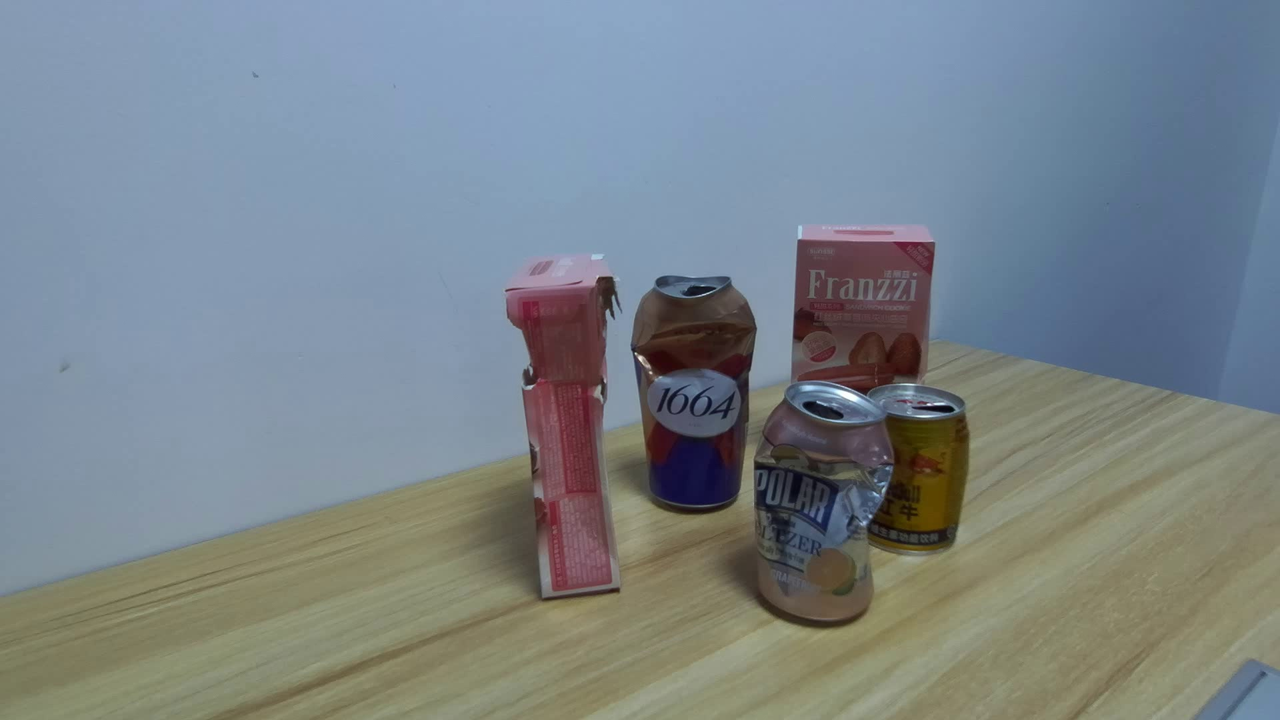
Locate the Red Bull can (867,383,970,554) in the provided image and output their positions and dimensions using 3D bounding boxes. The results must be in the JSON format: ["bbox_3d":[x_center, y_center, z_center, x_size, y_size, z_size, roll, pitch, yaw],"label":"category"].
[{"bbox_3d":[0.174,0.069,0.455,0.069,0.092,0.069,-1,17,1],"label":"Red Bull can"}]

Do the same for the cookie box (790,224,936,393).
[{"bbox_3d":[0.172,-0.008,0.549,0.105,0.187,0.049,3,24,10],"label":"cookie box"}]

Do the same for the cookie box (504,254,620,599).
[{"bbox_3d":[-0.037,0.037,0.423,0.059,0.186,0.105,-4,18,-2],"label":"cookie box"}]

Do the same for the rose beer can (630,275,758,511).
[{"bbox_3d":[0.039,0.023,0.500,0.074,0.162,0.068,-10,20,-22],"label":"rose beer can"}]

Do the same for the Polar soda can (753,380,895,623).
[{"bbox_3d":[0.103,0.078,0.386,0.067,0.121,0.070,-10,19,-43],"label":"Polar soda can"}]
